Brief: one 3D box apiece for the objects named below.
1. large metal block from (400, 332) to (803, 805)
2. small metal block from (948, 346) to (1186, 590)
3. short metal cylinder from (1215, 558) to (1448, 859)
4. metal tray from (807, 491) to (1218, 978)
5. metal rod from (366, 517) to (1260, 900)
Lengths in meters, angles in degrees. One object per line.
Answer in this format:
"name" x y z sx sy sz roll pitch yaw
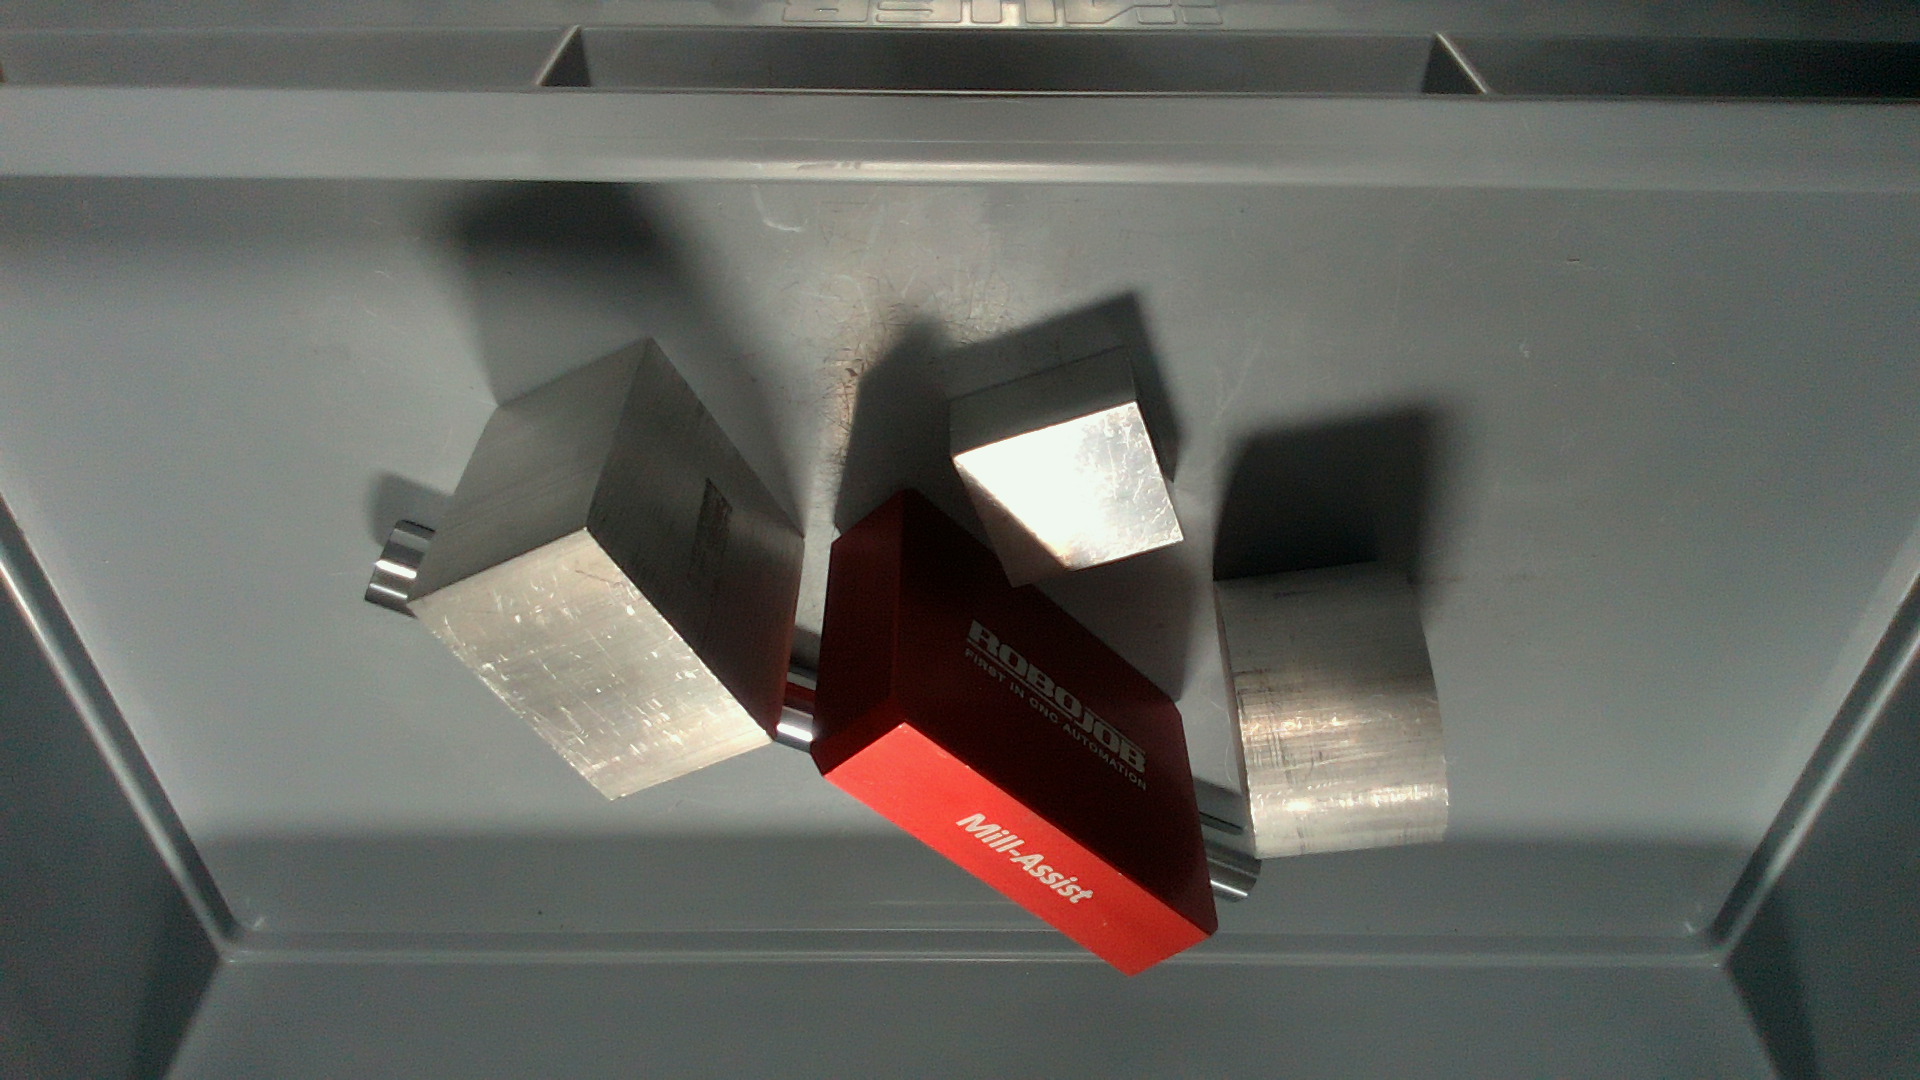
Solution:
"large metal block" -0.087 0.007 0.359 0.050 0.080 0.080 -21 127 17
"small metal block" 0.029 -0.018 0.372 0.050 0.025 0.050 -16 128 13
"short metal cylinder" 0.104 0.048 0.394 0.050 0.080 0.080 -8 130 8
"metal tray" 0.017 0.055 0.392 0.030 0.090 0.130 -36 122 26
"metal rod" -0.033 0.060 0.440 0.301 0.025 0.025 23 127 -18
